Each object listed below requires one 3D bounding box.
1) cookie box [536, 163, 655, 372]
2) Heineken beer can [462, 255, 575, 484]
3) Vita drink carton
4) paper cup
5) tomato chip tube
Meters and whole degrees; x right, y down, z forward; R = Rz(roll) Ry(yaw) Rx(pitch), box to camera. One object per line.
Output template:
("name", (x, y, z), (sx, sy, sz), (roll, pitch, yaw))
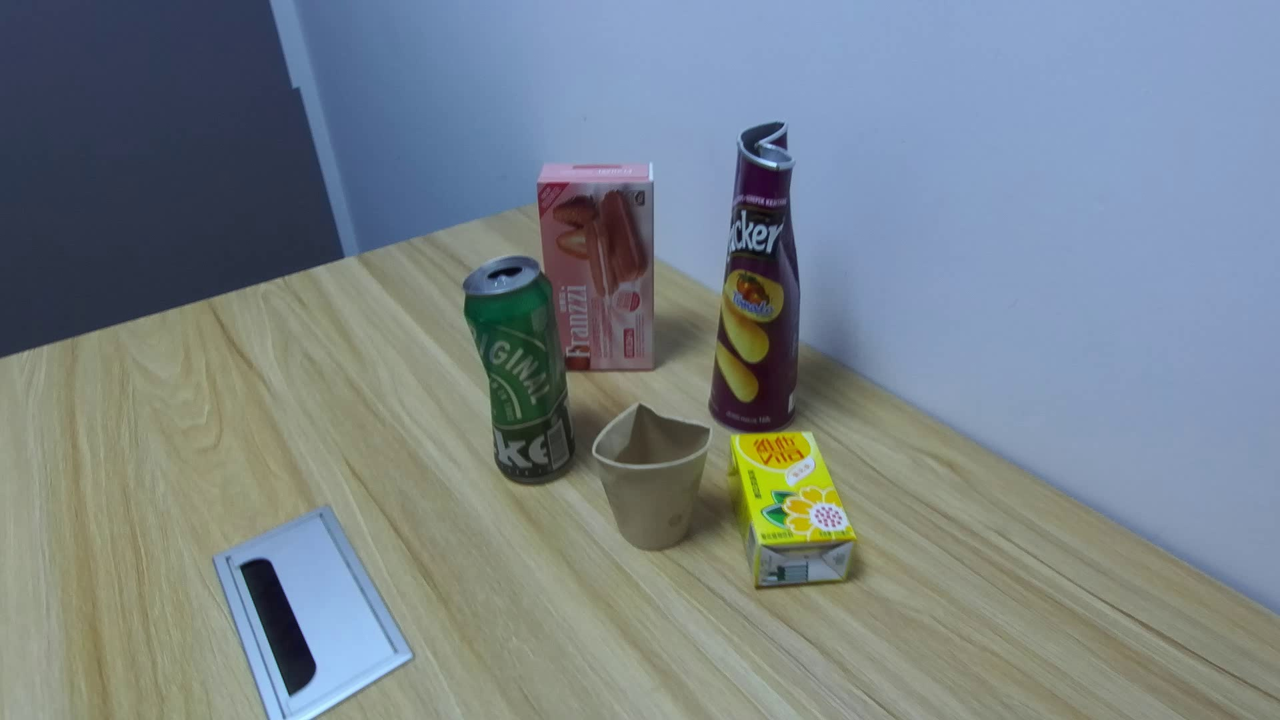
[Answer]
("cookie box", (-0.034, -0.078, 0.635), (0.096, 0.185, 0.048), (0, 32, 2))
("Heineken beer can", (-0.089, 0.011, 0.532), (0.068, 0.168, 0.069), (-25, 36, -28))
("Vita drink carton", (0.103, 0.101, 0.499), (0.066, 0.043, 0.108), (-1, 34, -4))
("paper cup", (0.009, 0.085, 0.491), (0.071, 0.084, 0.066), (16, 38, 25))
("tomato chip tube", (0.099, -0.055, 0.553), (0.078, 0.235, 0.076), (-22, 40, -27))
